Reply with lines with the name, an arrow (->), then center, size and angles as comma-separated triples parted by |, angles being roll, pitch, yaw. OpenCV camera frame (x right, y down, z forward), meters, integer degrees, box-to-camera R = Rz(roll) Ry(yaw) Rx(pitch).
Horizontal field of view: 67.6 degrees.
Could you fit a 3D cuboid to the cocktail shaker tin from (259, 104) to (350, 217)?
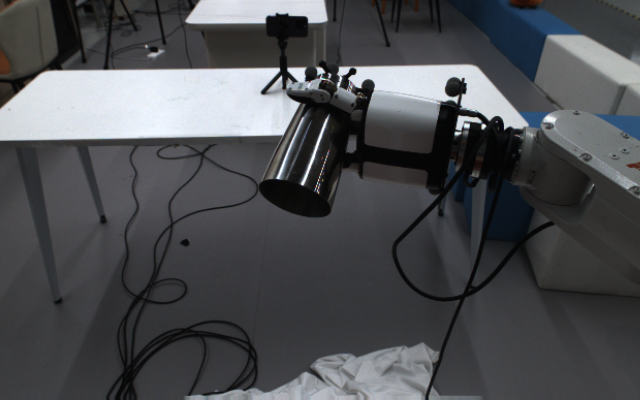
cocktail shaker tin -> -0.003, -0.077, 0.610 | 0.093, 0.093, 0.170 | 12, 65, 15
